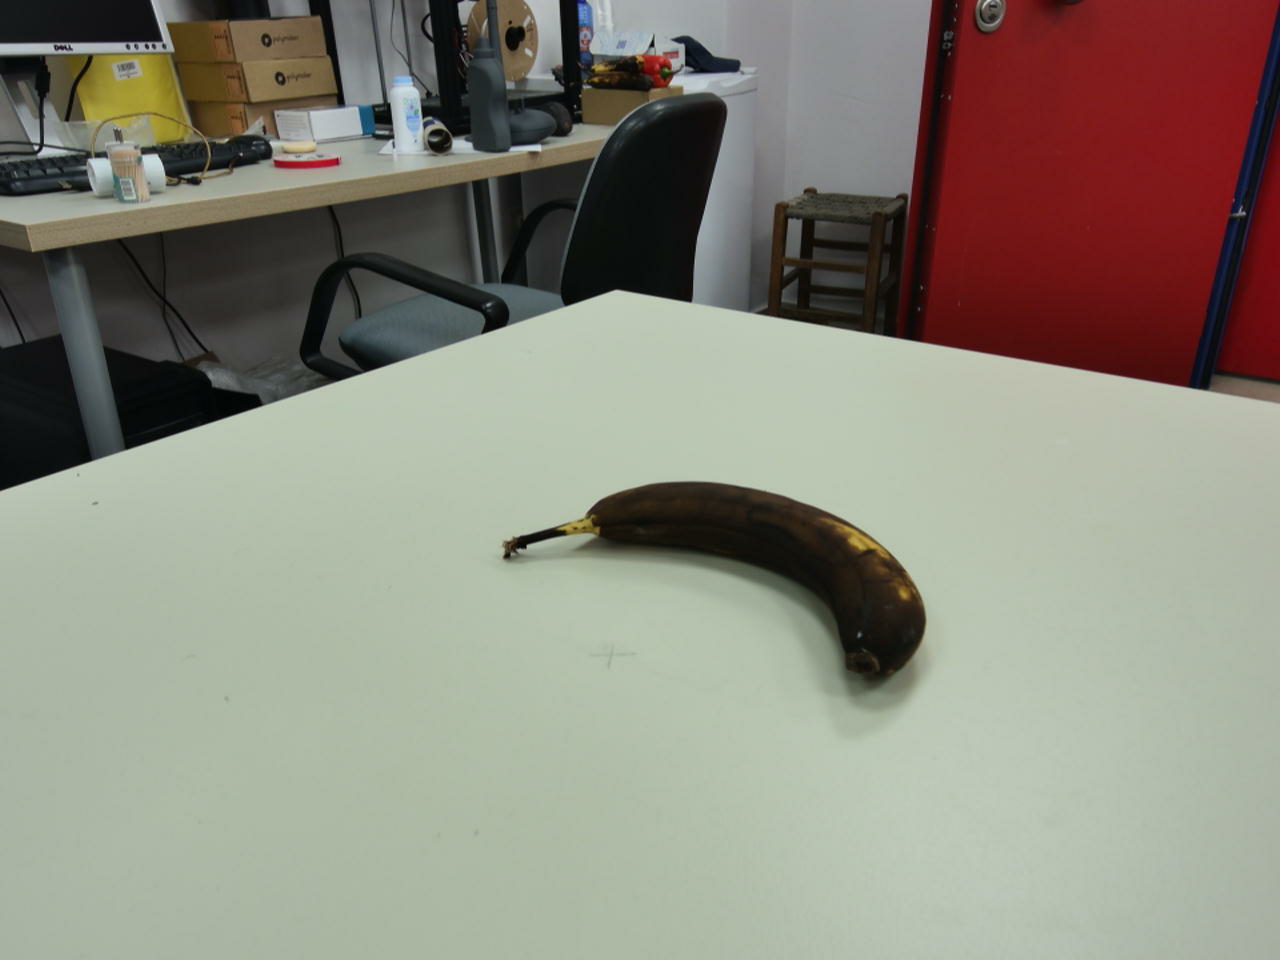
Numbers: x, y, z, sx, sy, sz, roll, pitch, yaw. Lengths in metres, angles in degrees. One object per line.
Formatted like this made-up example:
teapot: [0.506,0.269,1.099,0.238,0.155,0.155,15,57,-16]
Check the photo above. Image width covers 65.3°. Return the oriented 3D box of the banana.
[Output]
banana: [0.039,0.029,0.424,0.188,0.034,0.091,18,29,37]
